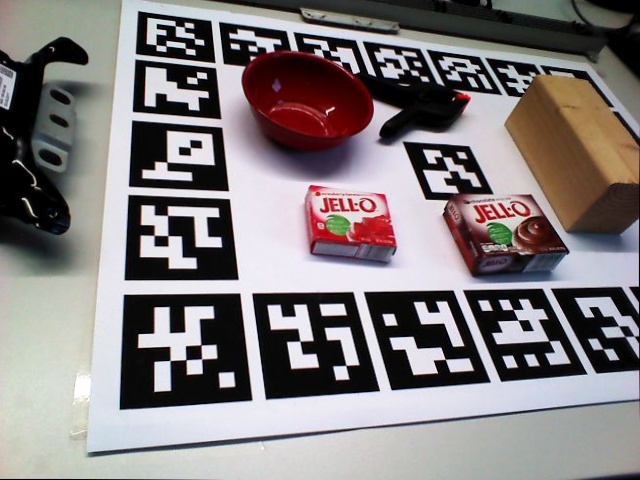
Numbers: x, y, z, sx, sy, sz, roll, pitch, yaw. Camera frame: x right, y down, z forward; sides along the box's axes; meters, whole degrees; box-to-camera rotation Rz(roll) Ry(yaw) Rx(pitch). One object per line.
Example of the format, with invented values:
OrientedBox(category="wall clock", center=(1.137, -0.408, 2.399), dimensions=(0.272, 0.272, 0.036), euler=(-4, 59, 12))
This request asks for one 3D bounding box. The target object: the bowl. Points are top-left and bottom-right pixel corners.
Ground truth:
OrientedBox(category="bowl", center=(-0.023, -0.152, 0.621), dimensions=(0.161, 0.055, 0.160), euler=(9, 54, -13))

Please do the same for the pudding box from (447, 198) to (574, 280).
OrientedBox(category="pudding box", center=(0.211, -0.003, 0.582), dimensions=(0.114, 0.039, 0.089), euler=(-2, 58, -16))

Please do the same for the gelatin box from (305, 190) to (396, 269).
OrientedBox(category="gelatin box", center=(0.030, -0.012, 0.536), dimensions=(0.089, 0.030, 0.073), euler=(7, 54, -13))

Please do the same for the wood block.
OrientedBox(category="wood block", center=(0.348, -0.111, 0.674), dimensions=(0.090, 0.091, 0.205), euler=(3, 53, -17))

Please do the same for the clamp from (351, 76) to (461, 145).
OrientedBox(category="clamp", center=(0.121, -0.179, 0.701), dimensions=(0.164, 0.037, 0.121), euler=(-8, 56, -25))
